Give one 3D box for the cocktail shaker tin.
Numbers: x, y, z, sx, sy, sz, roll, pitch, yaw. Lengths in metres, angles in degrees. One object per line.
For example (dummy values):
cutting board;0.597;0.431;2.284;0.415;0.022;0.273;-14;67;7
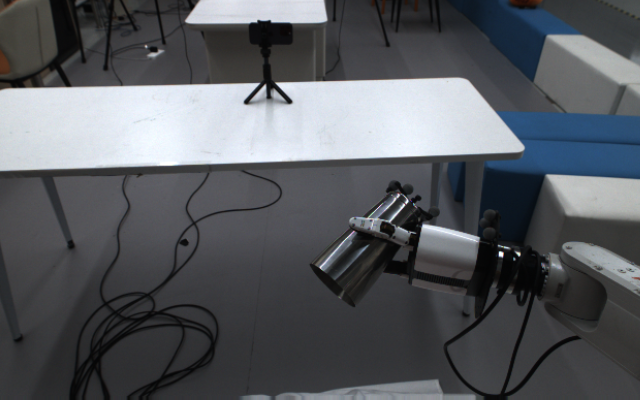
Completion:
cocktail shaker tin;0.075;0.063;0.732;0.170;0.093;0.093;-43;50;-14
